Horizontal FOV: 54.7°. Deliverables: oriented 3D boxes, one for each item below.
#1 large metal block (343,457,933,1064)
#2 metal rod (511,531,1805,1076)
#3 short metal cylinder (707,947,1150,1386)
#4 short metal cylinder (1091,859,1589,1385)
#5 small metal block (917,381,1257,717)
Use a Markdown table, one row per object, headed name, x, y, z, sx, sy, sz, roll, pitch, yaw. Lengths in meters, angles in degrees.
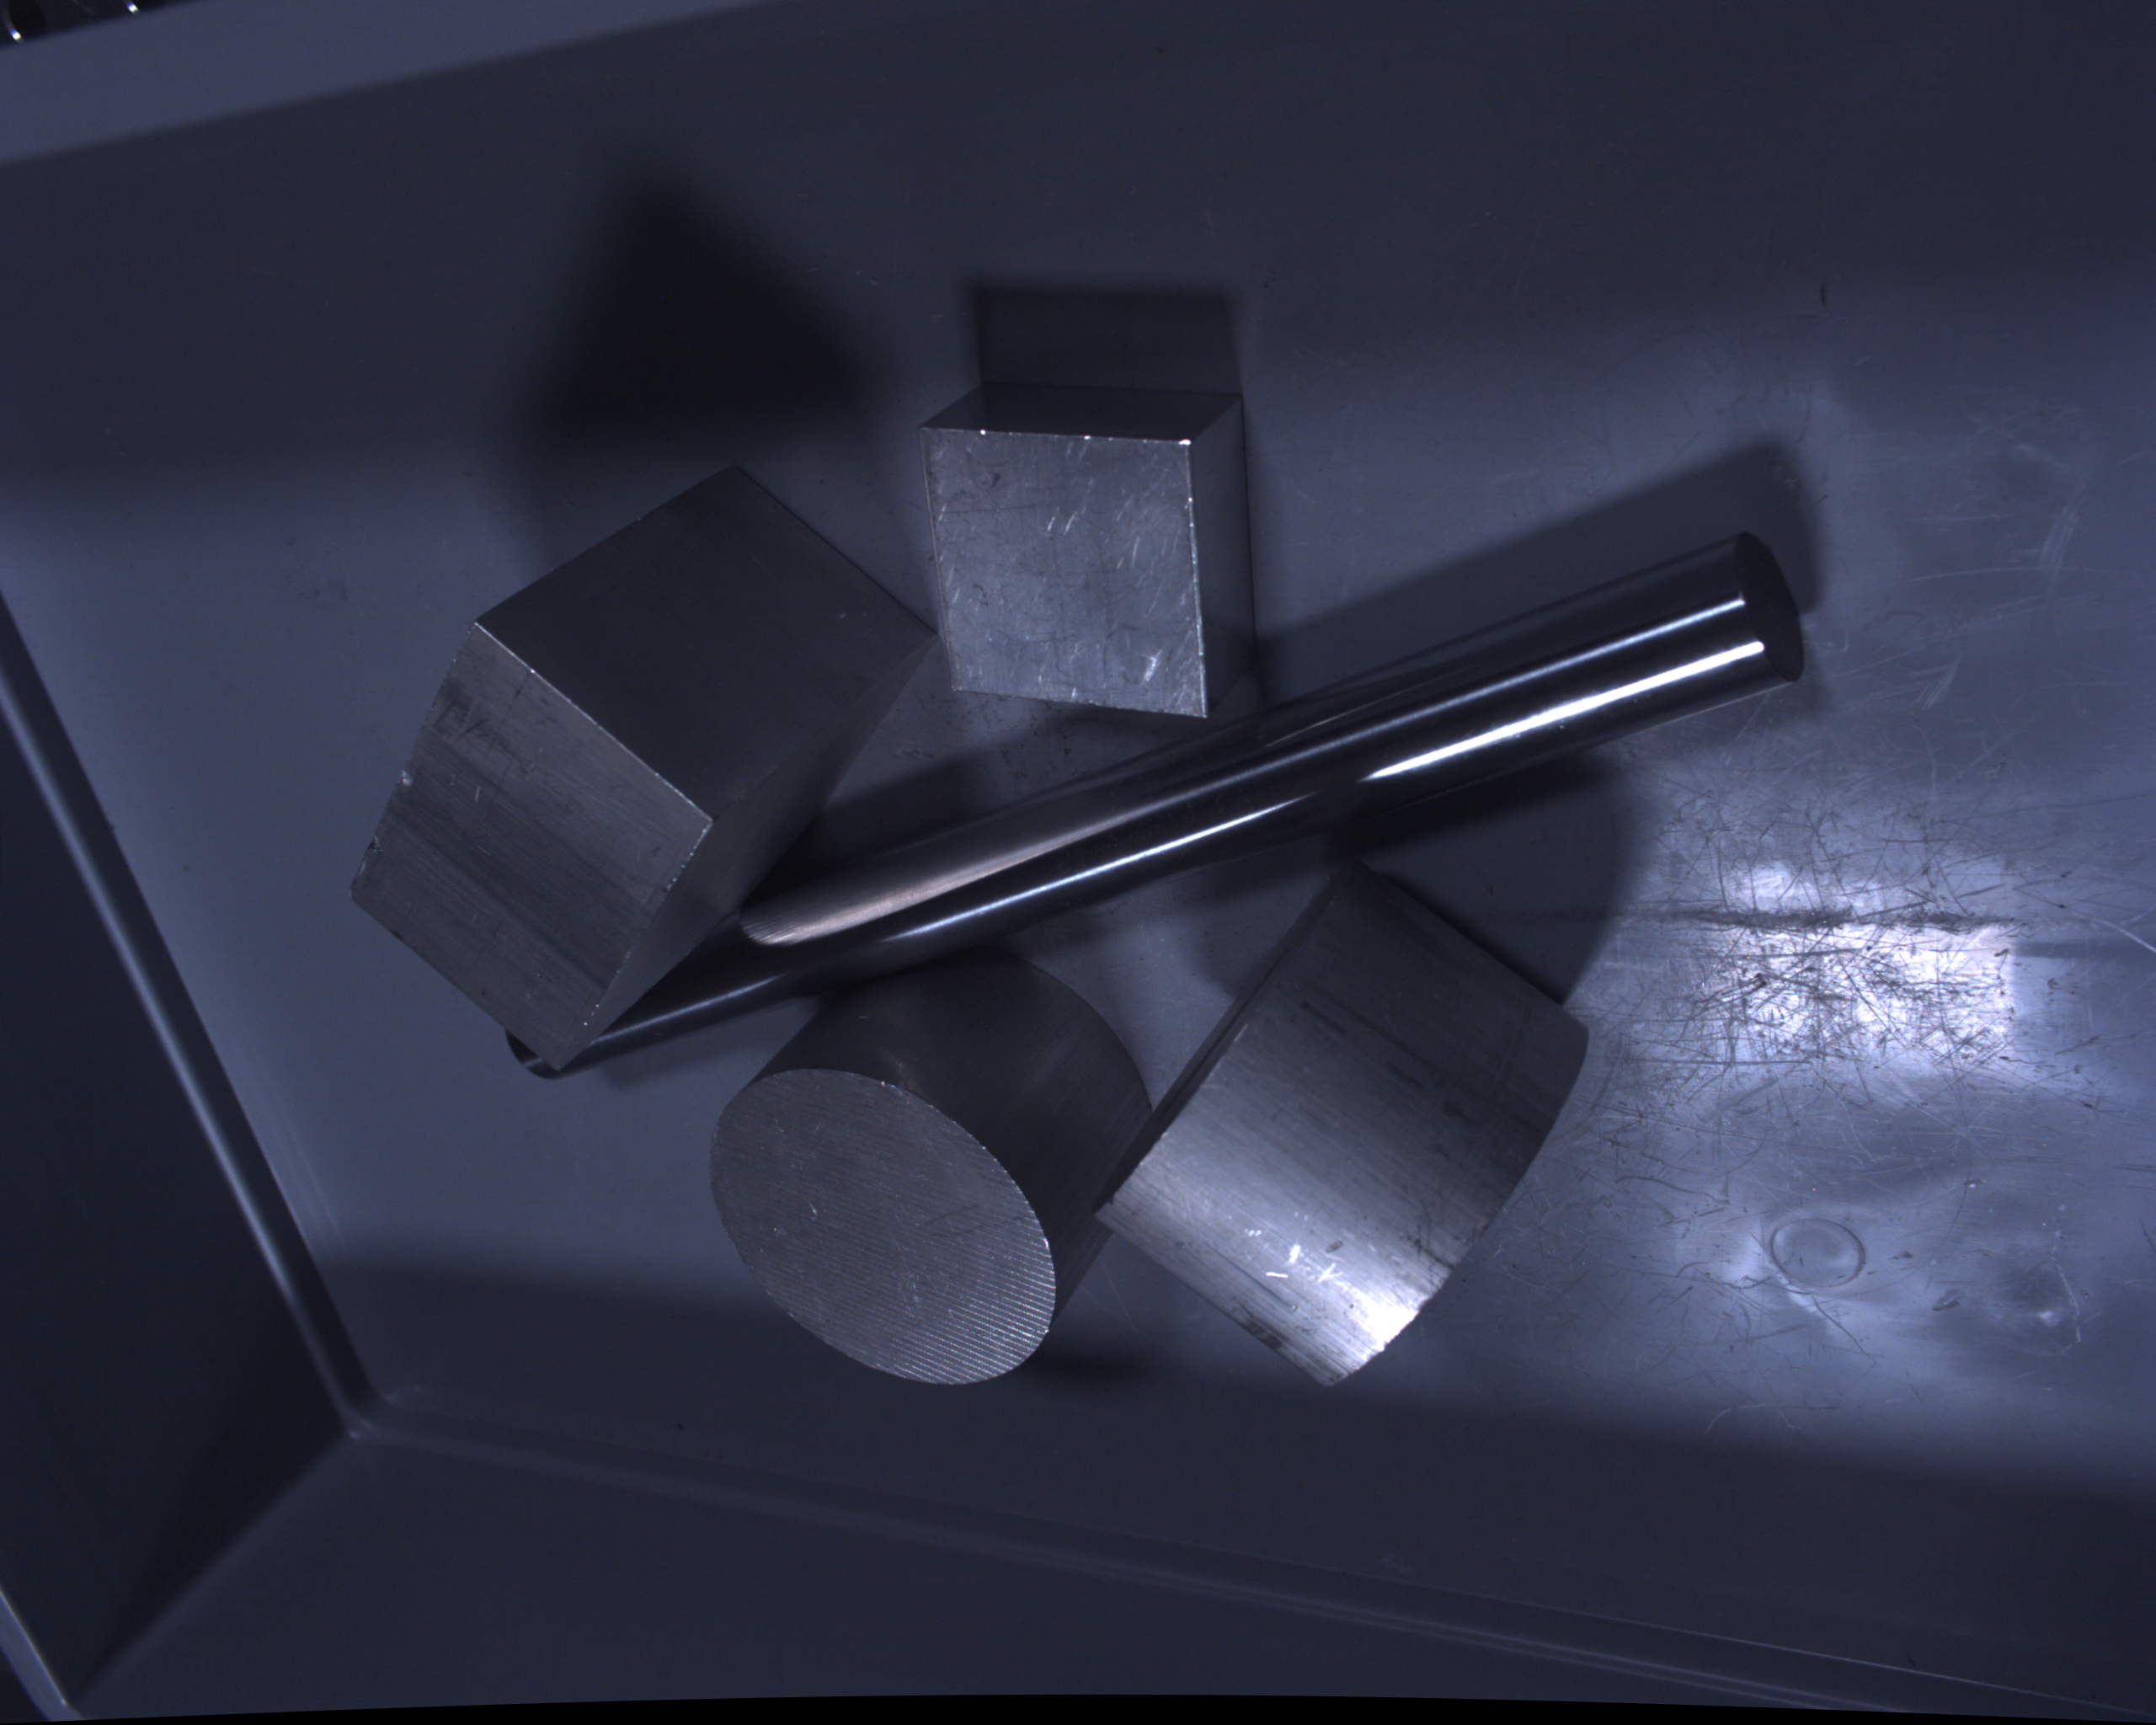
| name | x | y | z | sx | sy | sz | roll | pitch | yaw |
| --- | --- | --- | --- | --- | --- | --- | --- | --- | --- |
| large metal block | -0.084 | -0.021 | 0.402 | 0.050 | 0.080 | 0.080 | 40 | 129 | 1 |
| metal rod | -0.009 | -0.001 | 0.410 | 0.300 | 0.025 | 0.025 | -19 | 109 | 35 |
| short metal cylinder | -0.031 | 0.064 | 0.444 | 0.080 | 0.050 | 0.079 | 13 | 124 | 20 |
| short metal cylinder | 0.046 | 0.046 | 0.375 | 0.050 | 0.080 | 0.079 | 37 | 129 | 3 |
| small metal block | 0.003 | -0.056 | 0.369 | 0.050 | 0.025 | 0.050 | 8 | 122 | 23 |
